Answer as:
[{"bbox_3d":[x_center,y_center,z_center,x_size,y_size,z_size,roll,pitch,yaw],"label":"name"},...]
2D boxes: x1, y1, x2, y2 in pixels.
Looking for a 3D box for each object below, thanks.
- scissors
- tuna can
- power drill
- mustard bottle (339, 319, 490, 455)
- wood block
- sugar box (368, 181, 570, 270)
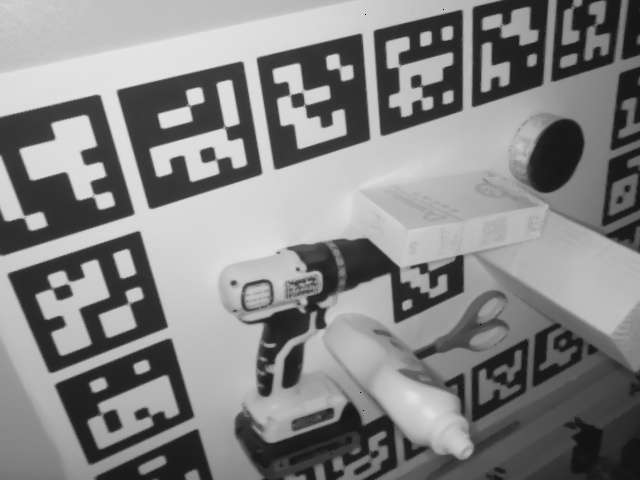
[{"bbox_3d":[0.196,0.130,0.819,0.205,0.016,0.087,-17,121,-22],"label":"scissors"},{"bbox_3d":[0.283,-0.085,0.762,0.087,0.033,0.085,-11,114,-24],"label":"tuna can"},{"bbox_3d":[0.023,0.095,0.685,0.187,0.057,0.186,-6,106,-27],"label":"power drill"},{"bbox_3d":[0.098,0.147,0.677,0.097,0.190,0.058,35,92,-34],"label":"mustard bottle"},{"bbox_3d":[0.292,0.049,0.735,0.091,0.205,0.090,-44,123,-5],"label":"wood block"},{"bbox_3d":[0.147,-0.019,0.686,0.179,0.092,0.045,-7,117,-24],"label":"sugar box"}]
